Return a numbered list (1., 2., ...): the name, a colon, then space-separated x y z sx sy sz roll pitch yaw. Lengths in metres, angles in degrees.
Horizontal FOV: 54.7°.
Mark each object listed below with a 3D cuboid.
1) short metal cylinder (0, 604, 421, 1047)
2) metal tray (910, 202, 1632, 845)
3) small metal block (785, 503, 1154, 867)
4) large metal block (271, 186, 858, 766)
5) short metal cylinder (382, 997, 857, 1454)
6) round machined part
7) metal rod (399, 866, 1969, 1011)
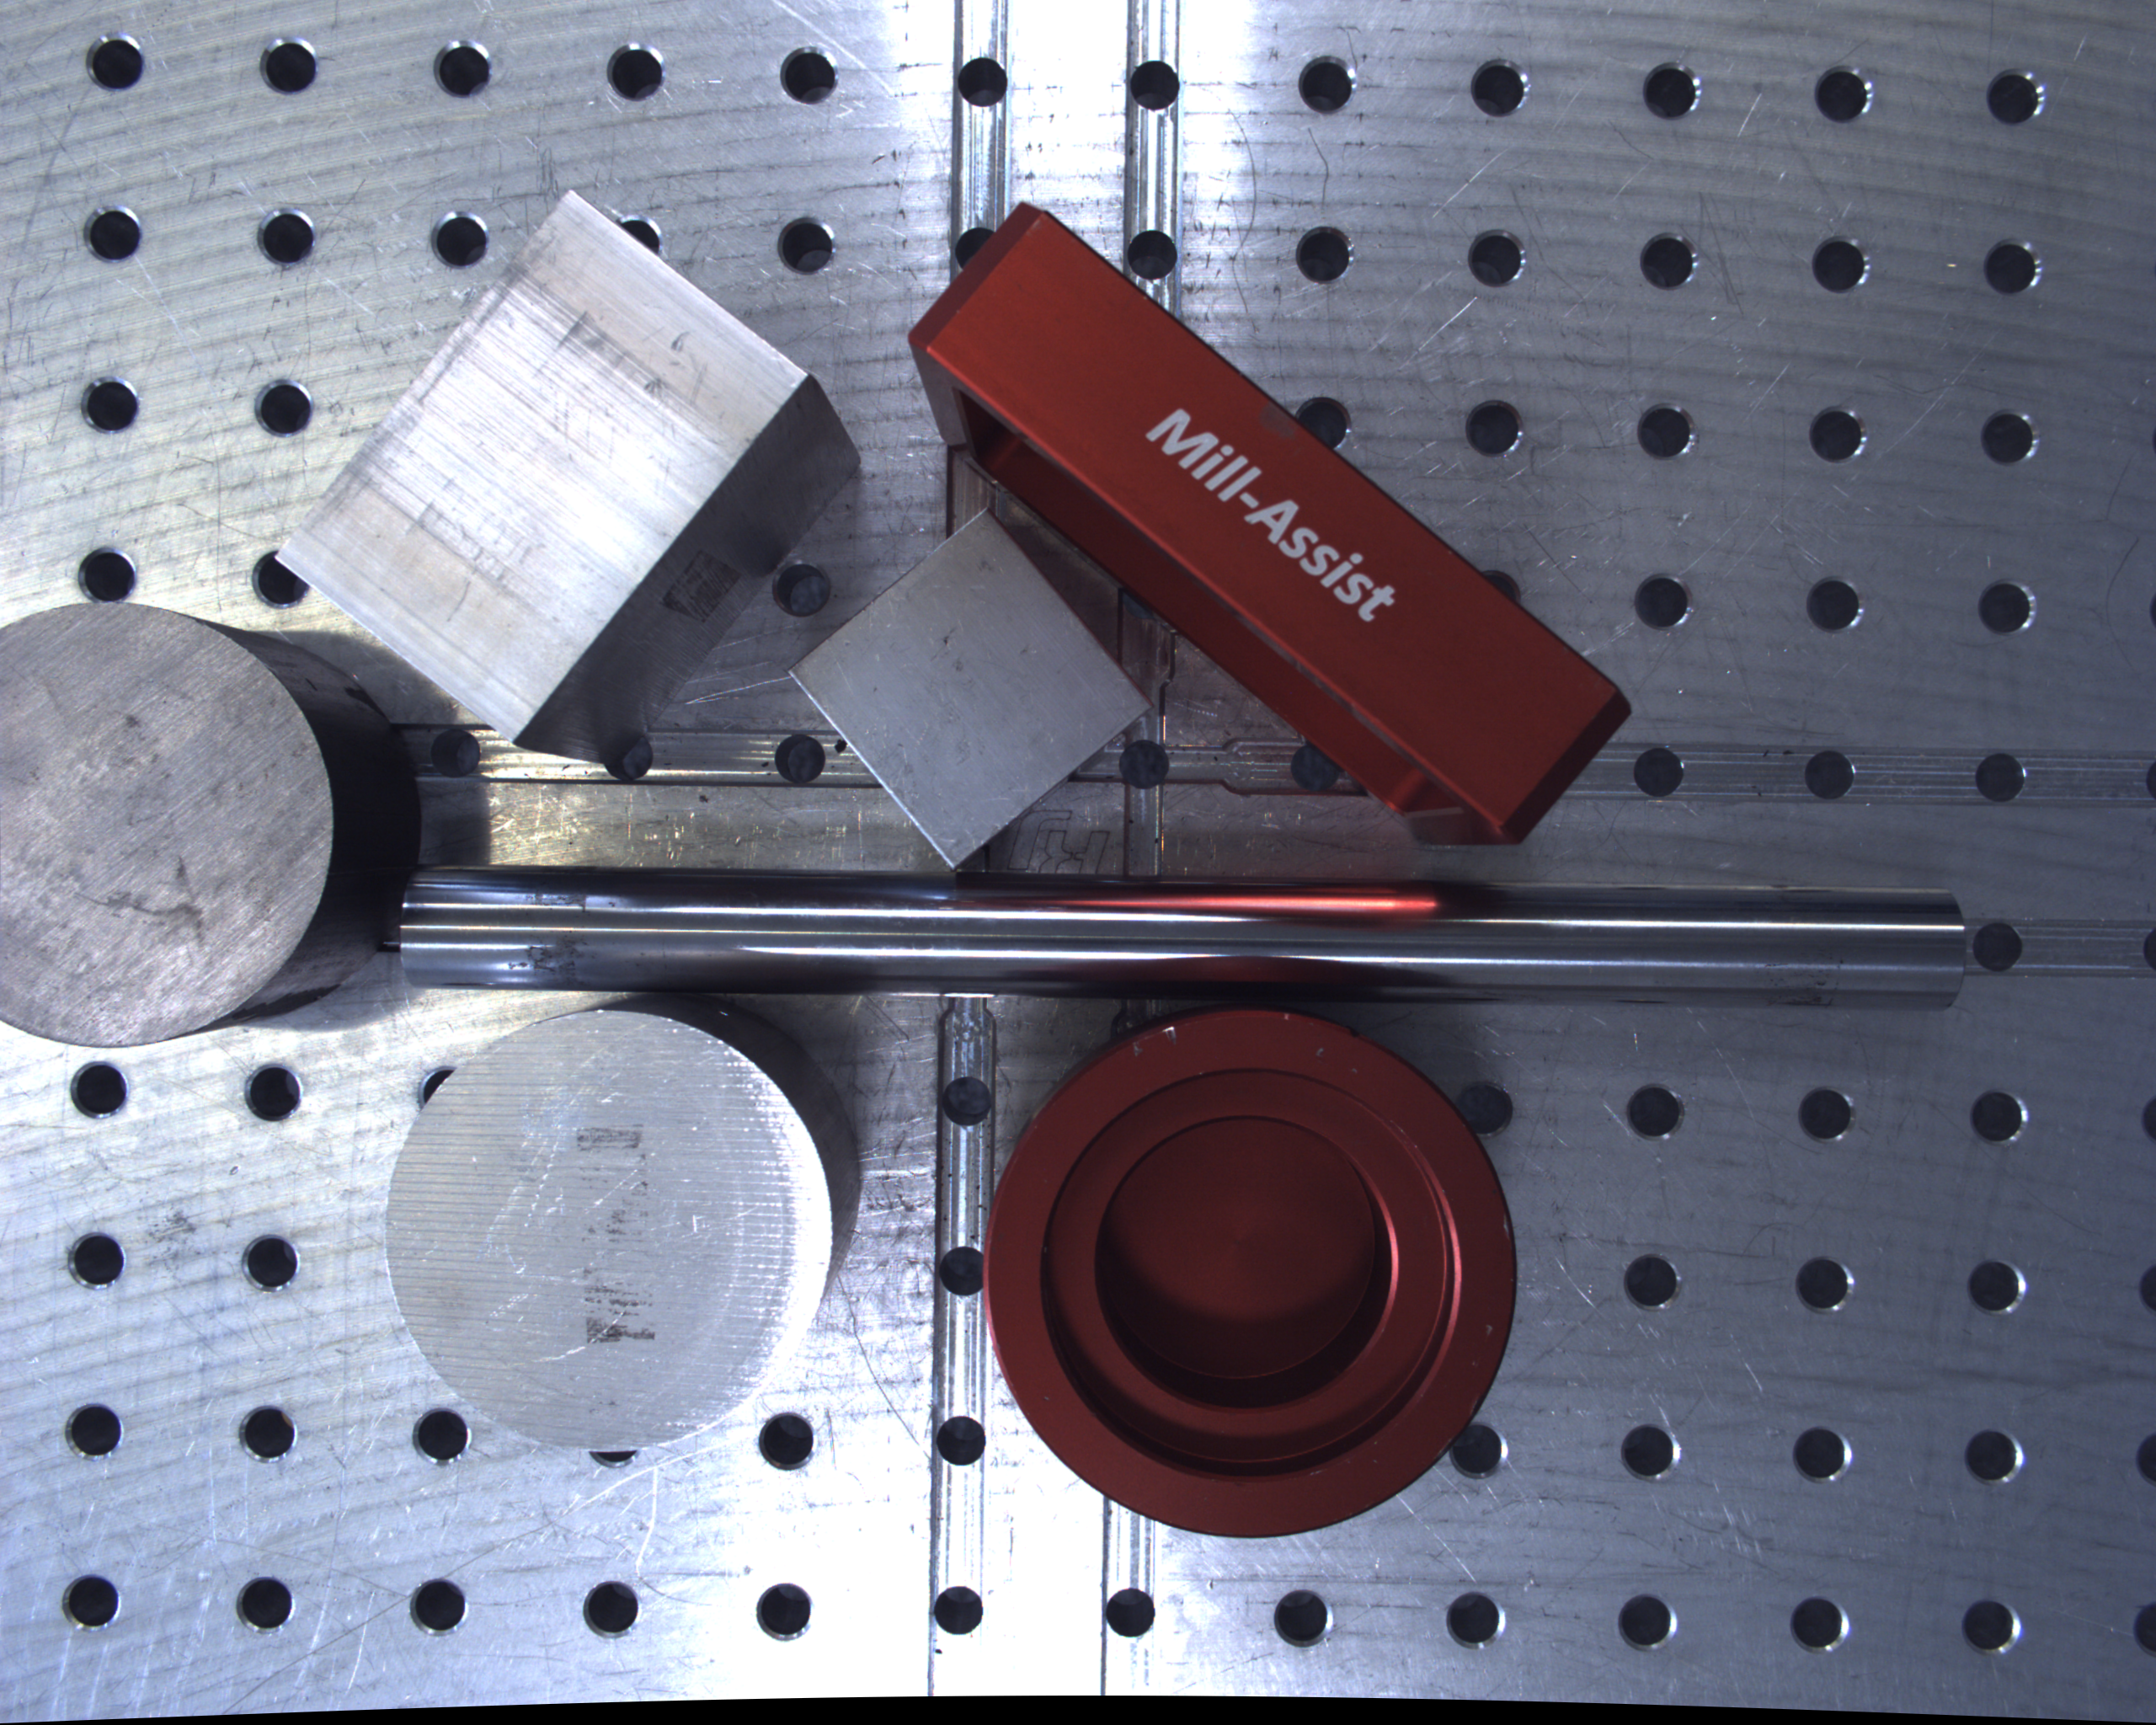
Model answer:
1. short metal cylinder: -0.174 -0.007 0.399 0.081 0.050 0.080 0 90 0
2. metal tray: 0.032 -0.056 0.380 0.130 0.090 0.030 40 90 0
3. small metal block: -0.021 -0.034 0.413 0.050 0.025 0.050 -39 90 0
4. large metal block: -0.089 -0.066 0.385 0.050 0.080 0.080 39 90 -1
5. short metal cylinder: -0.085 0.066 0.400 0.081 0.050 0.080 0 90 0
6. round machined part: 0.032 0.076 0.405 0.099 0.042 0.097 0 90 0
7. metal rod: 0.021 0.015 0.413 0.302 0.025 0.025 1 90 0
